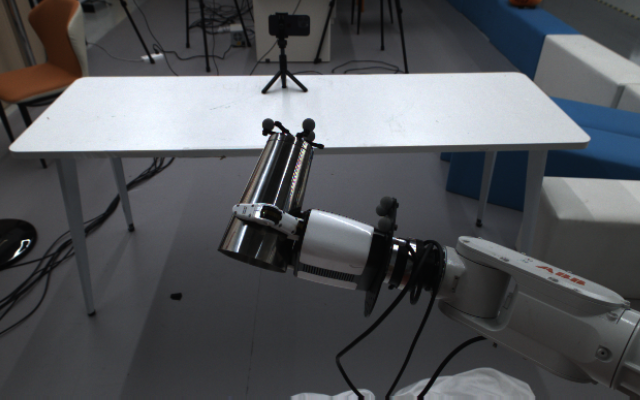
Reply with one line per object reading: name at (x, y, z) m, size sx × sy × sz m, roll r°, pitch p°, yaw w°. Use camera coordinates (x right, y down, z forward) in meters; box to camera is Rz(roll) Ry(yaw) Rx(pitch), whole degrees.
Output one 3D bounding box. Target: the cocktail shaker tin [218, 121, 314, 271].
cocktail shaker tin at (-0.064, 0.001, 0.642) m, size 0.093 × 0.093 × 0.170 m, roll 13°, pitch 73°, yaw 15°
